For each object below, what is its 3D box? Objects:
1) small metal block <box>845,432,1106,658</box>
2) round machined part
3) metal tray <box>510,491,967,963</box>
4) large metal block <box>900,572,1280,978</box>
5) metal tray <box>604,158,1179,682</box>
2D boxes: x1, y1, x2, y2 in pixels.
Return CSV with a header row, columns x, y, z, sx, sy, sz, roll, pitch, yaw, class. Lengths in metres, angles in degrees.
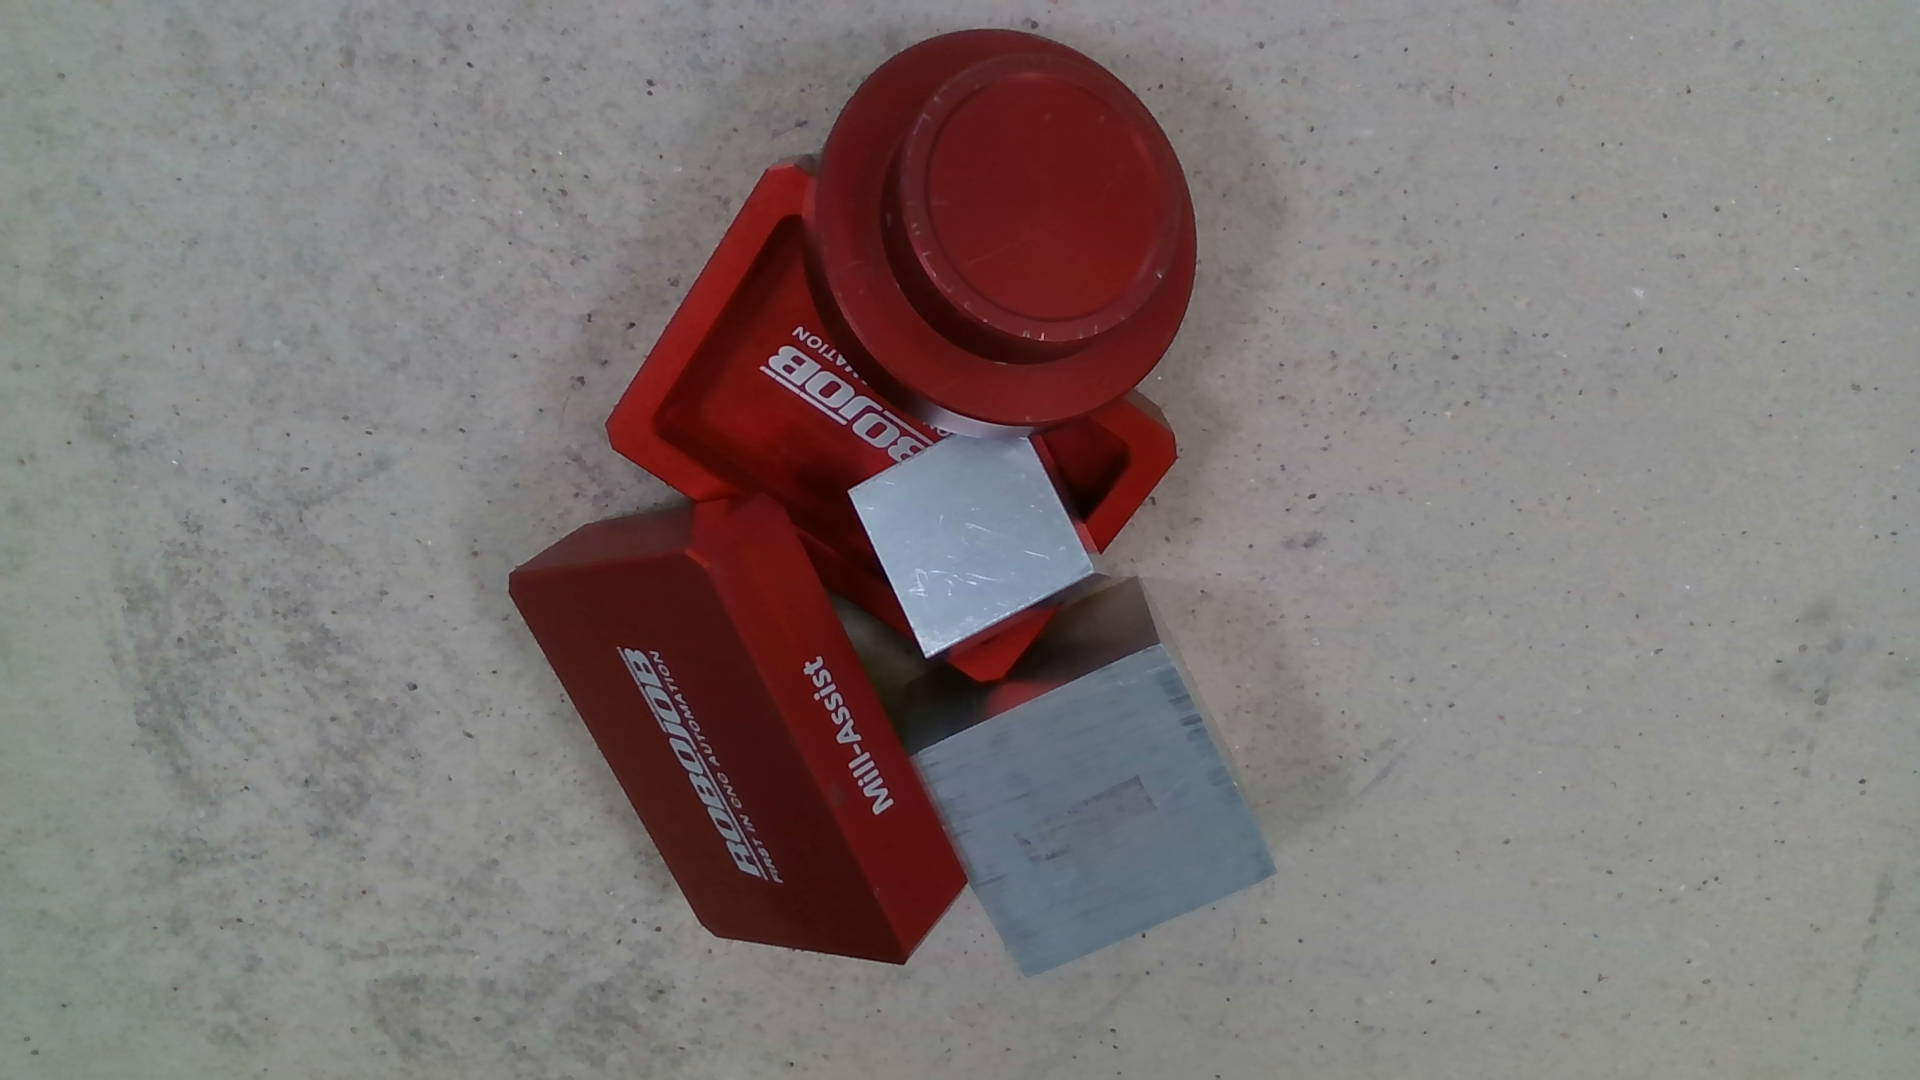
x,y,z,sx,sy,sz,roll,pitch,yaw,class
0.005,-0.002,0.368,0.050,0.025,0.050,-28,80,12,small metal block
0.013,-0.077,0.334,0.098,0.042,0.098,2,85,-17,round machined part
-0.062,0.055,0.387,0.090,0.030,0.130,-8,114,41,metal tray
0.037,0.069,0.406,0.080,0.050,0.080,-25,108,9,large metal block
-0.018,-0.031,0.379,0.130,0.030,0.090,33,107,-11,metal tray
